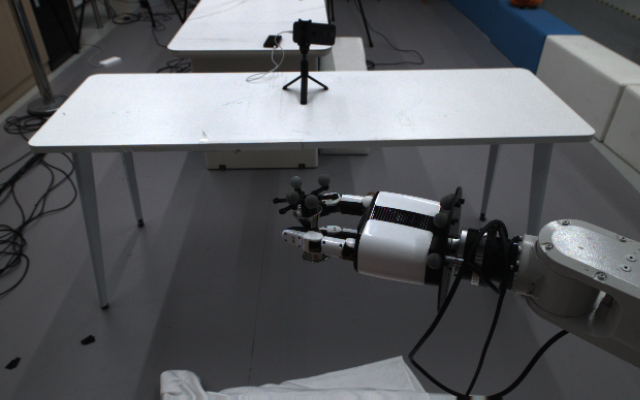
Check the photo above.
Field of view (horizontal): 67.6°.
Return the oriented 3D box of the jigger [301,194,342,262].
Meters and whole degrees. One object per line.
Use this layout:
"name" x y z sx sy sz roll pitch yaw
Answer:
"jigger" -0.008 0.042 0.654 0.043 0.071 0.043 -10 23 5
